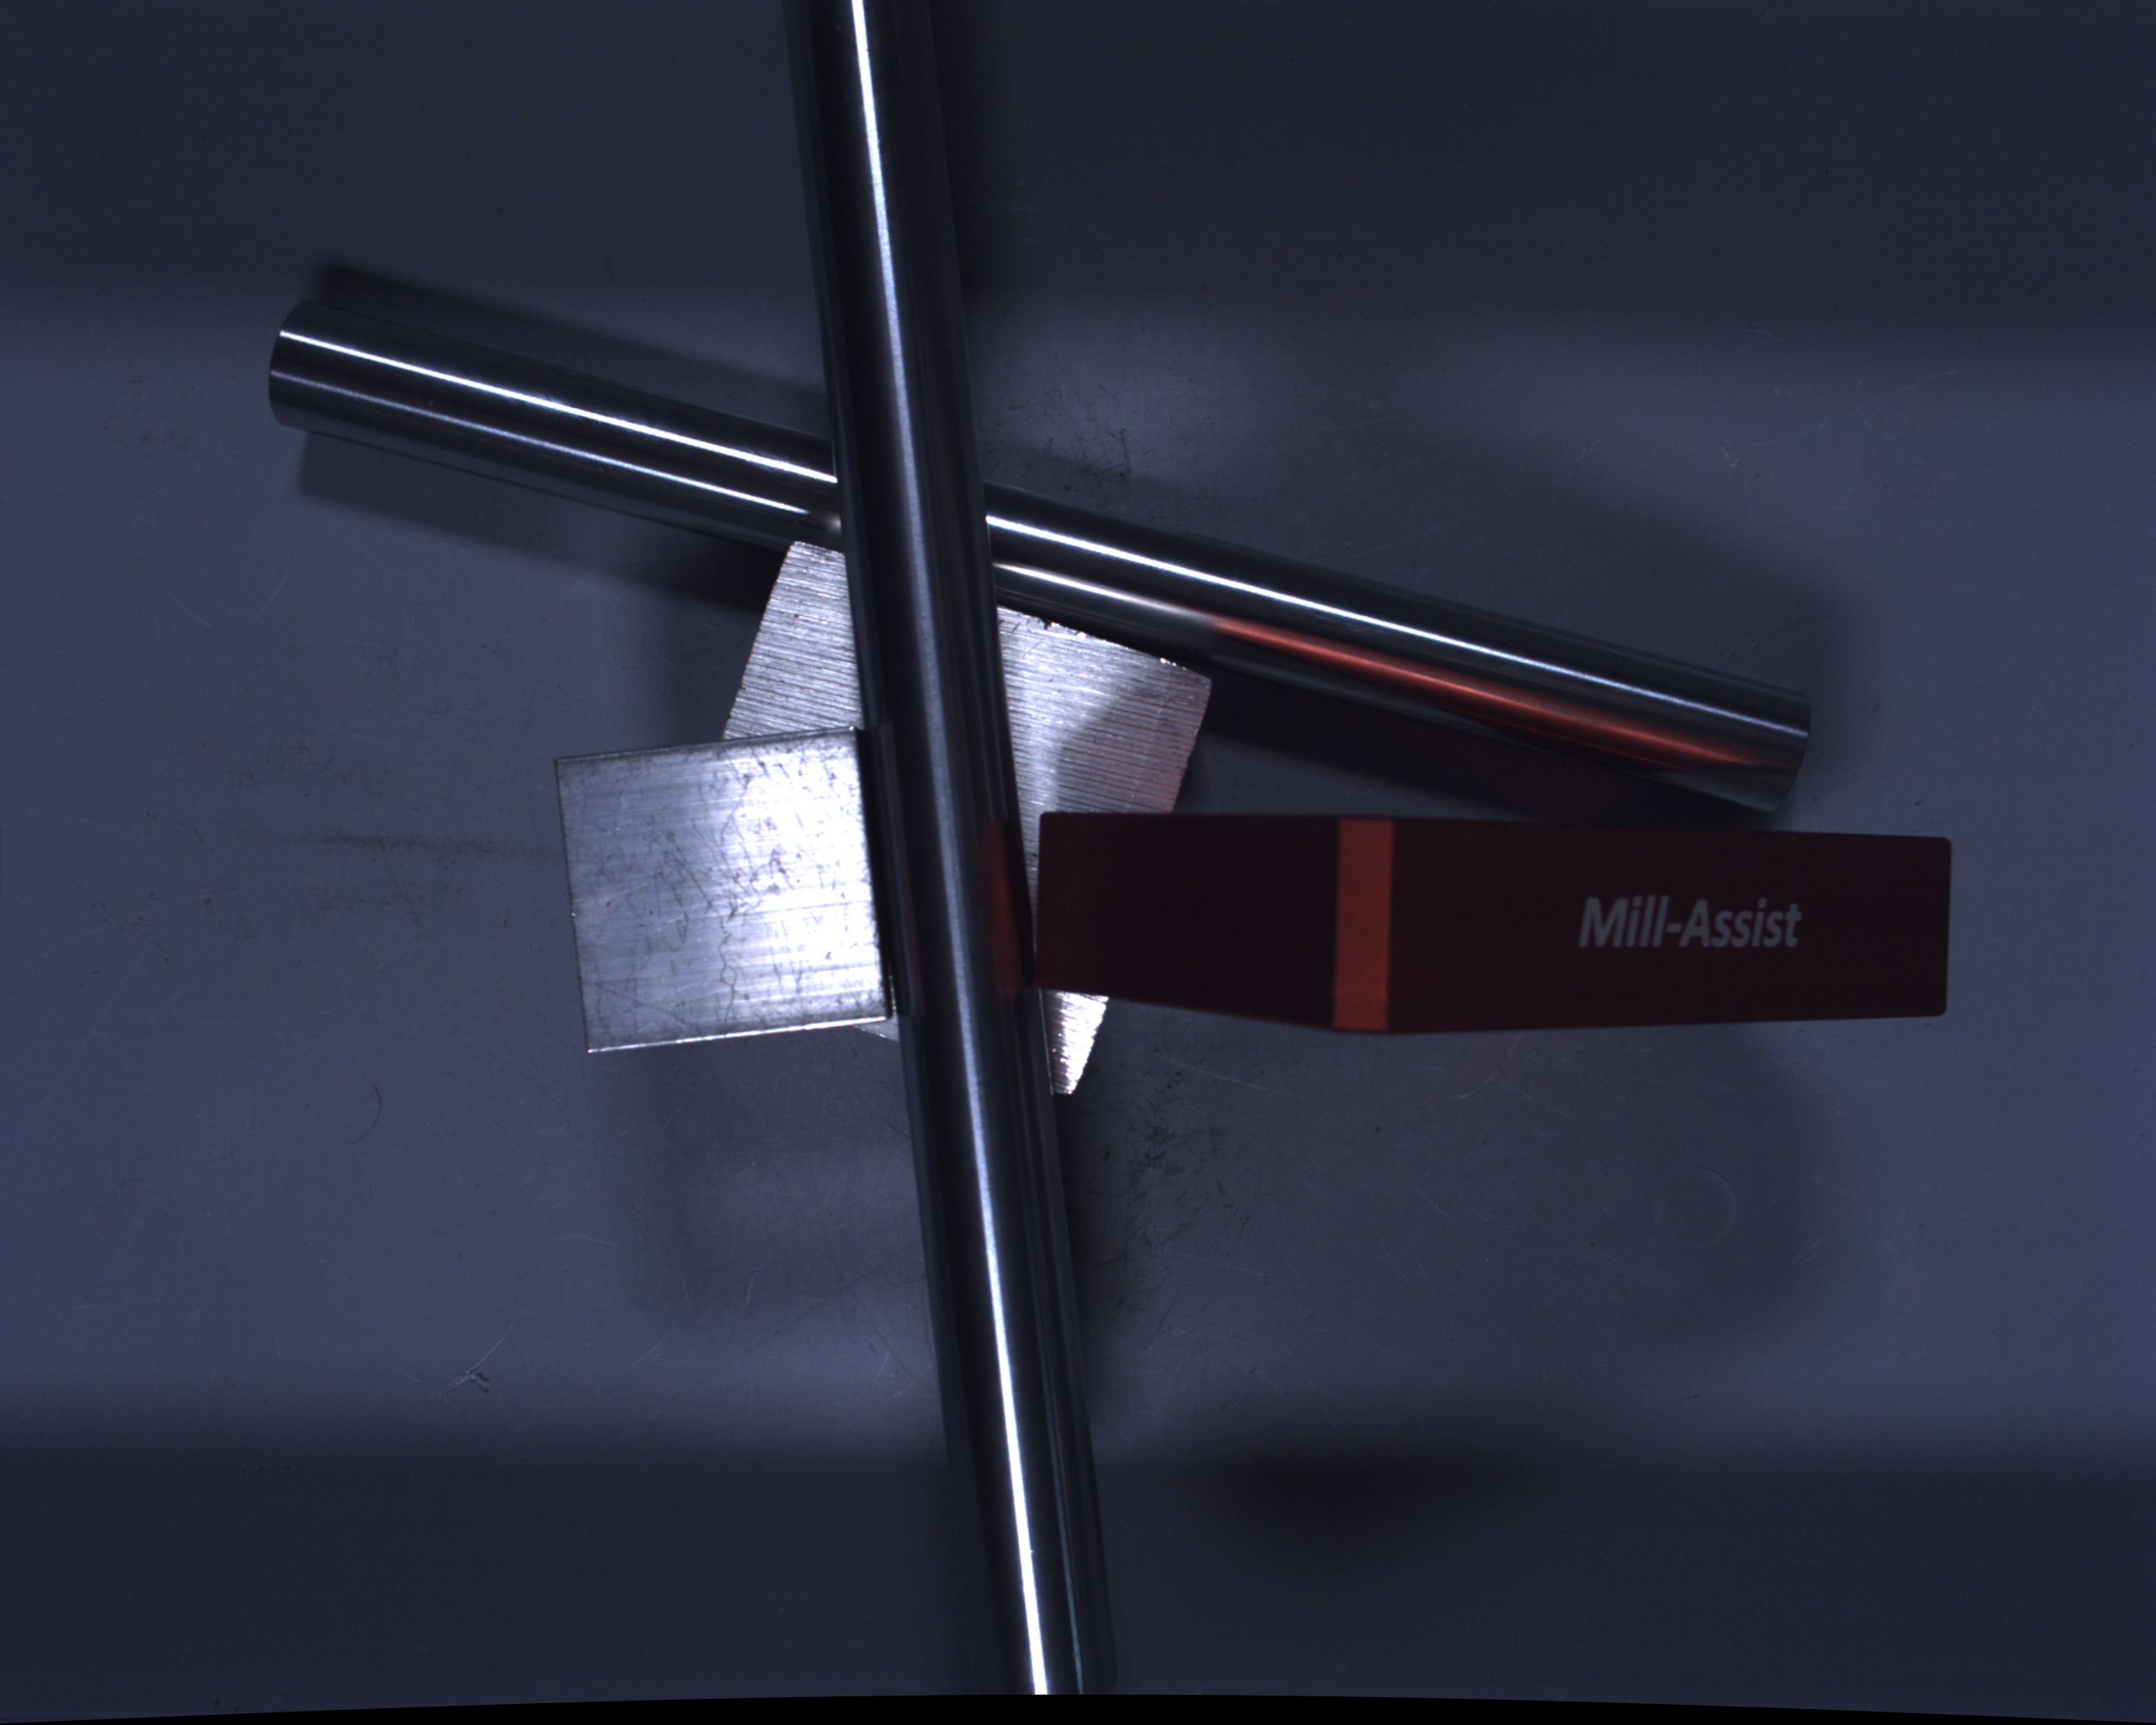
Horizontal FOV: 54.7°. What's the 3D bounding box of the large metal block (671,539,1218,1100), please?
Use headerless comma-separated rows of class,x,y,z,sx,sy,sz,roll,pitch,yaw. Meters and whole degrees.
large metal block,-0.026,-0.008,0.397,0.080,0.050,0.080,18,90,-1

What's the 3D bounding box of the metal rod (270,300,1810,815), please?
metal rod,-0.007,-0.060,0.410,0.302,0.025,0.025,15,90,-1

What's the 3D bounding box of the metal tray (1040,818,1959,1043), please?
metal tray,0.071,0.009,0.352,0.131,0.090,0.030,1,91,-32

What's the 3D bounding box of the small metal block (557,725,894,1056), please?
small metal block,-0.059,0.005,0.359,0.050,0.025,0.050,-6,90,-1

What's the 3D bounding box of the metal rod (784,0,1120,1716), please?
metal rod,-0.022,-0.006,0.360,0.025,0.025,0.298,-6,90,0
